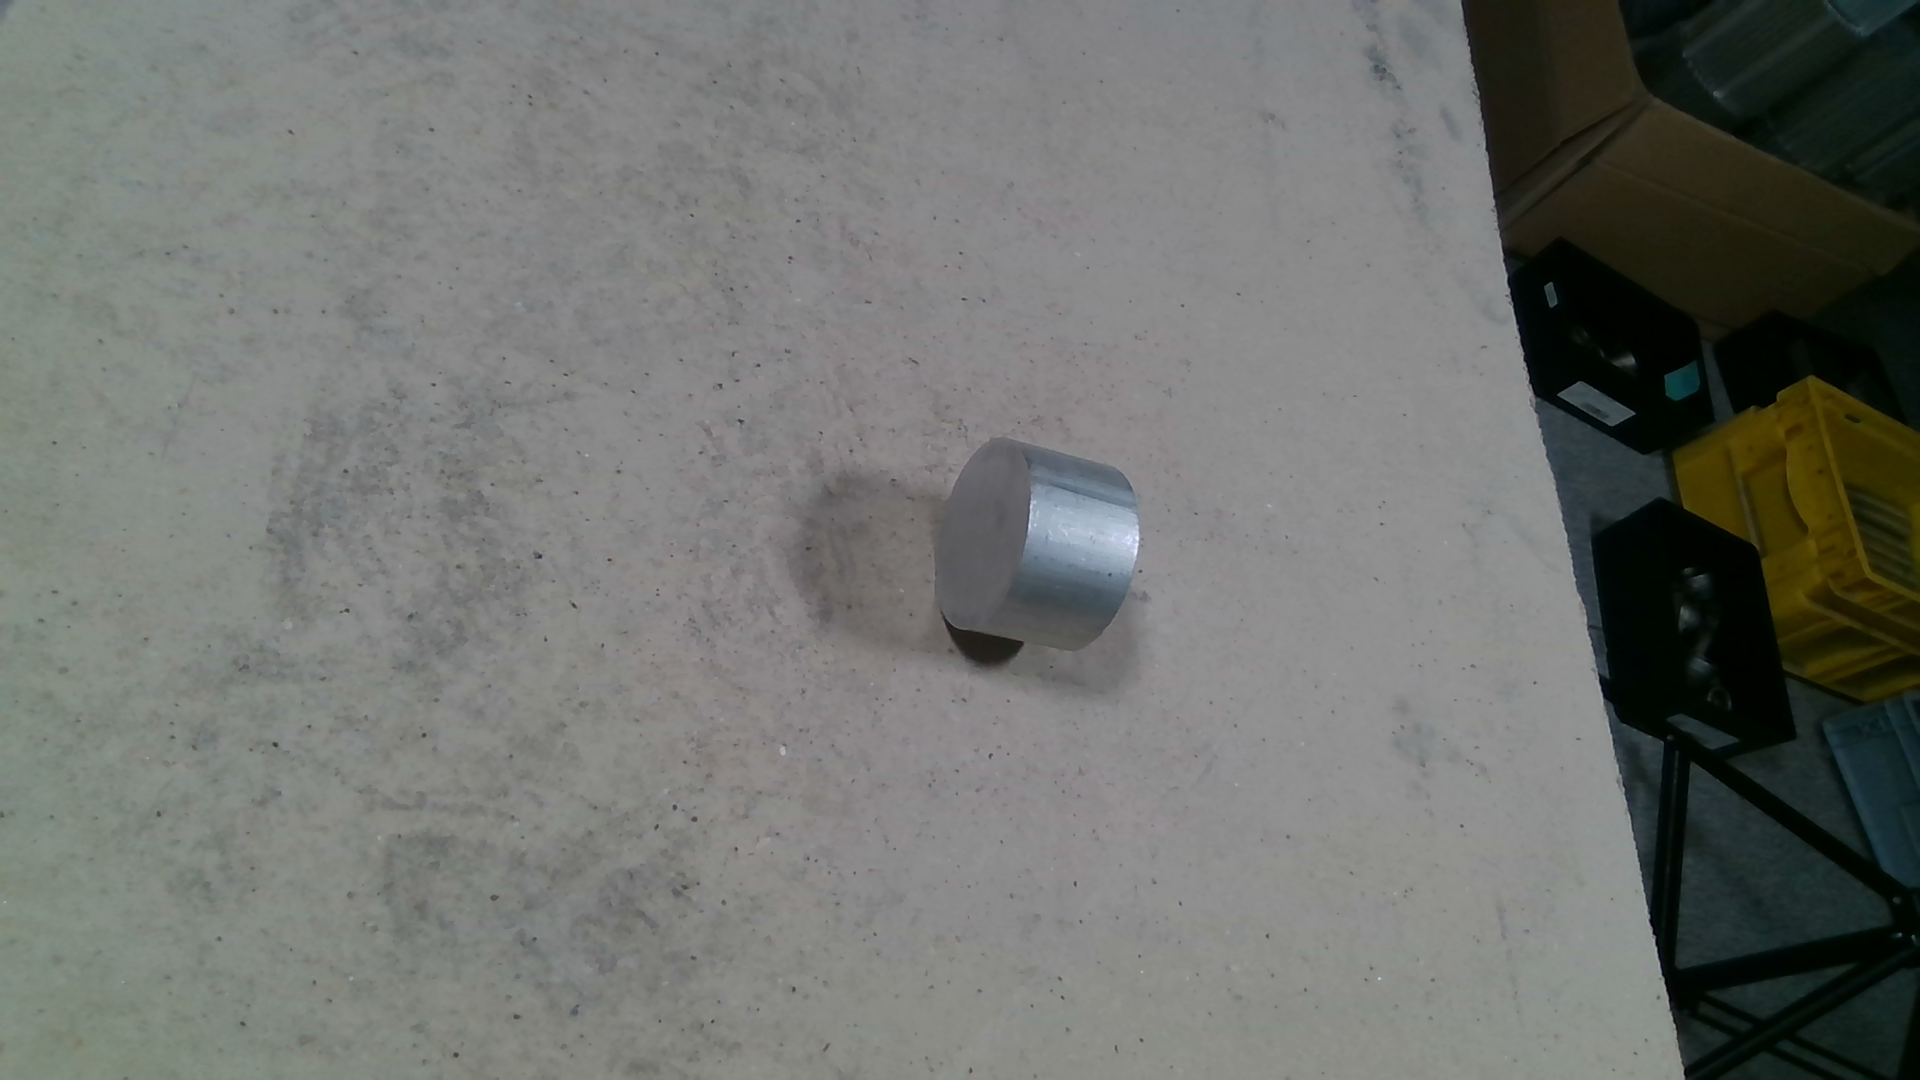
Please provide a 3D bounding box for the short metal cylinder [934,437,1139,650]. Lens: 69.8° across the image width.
[{"bbox_3d":[0.030,0.002,0.569,0.050,0.080,0.080,13,59,-25],"label":"short metal cylinder"}]
